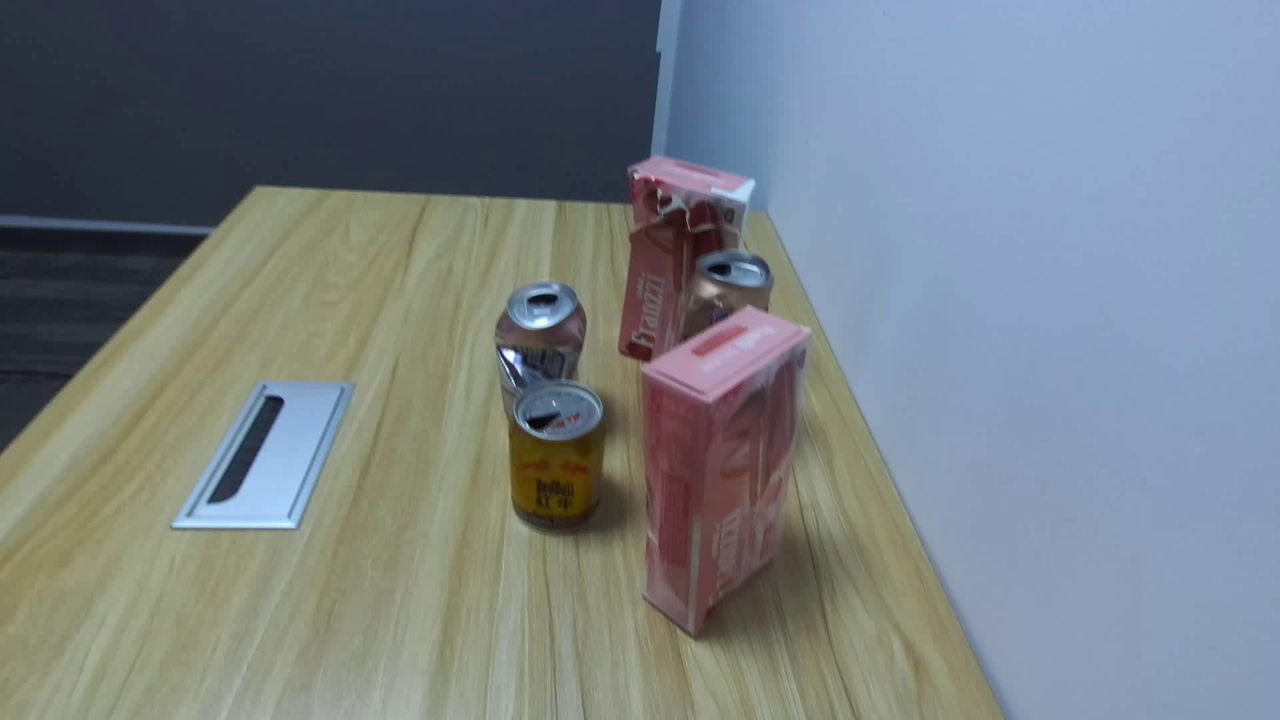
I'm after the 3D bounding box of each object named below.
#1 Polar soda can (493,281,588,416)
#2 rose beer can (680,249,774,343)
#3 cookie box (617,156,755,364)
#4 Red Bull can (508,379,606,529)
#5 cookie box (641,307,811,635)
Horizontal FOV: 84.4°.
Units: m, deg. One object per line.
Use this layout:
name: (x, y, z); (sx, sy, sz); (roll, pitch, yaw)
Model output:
Polar soda can: (-0.080, 0.001, 0.563); (0.071, 0.122, 0.066); (-5, 42, -15)
rose beer can: (0.058, -0.002, 0.546); (0.068, 0.162, 0.073); (5, 35, -4)
cookie box: (0.036, -0.073, 0.618); (0.105, 0.186, 0.059); (19, 36, 17)
Red Bull can: (-0.058, 0.068, 0.497); (0.069, 0.092, 0.069); (4, 36, -3)
cookie box: (0.047, 0.072, 0.427); (0.048, 0.188, 0.105); (26, 41, 35)
